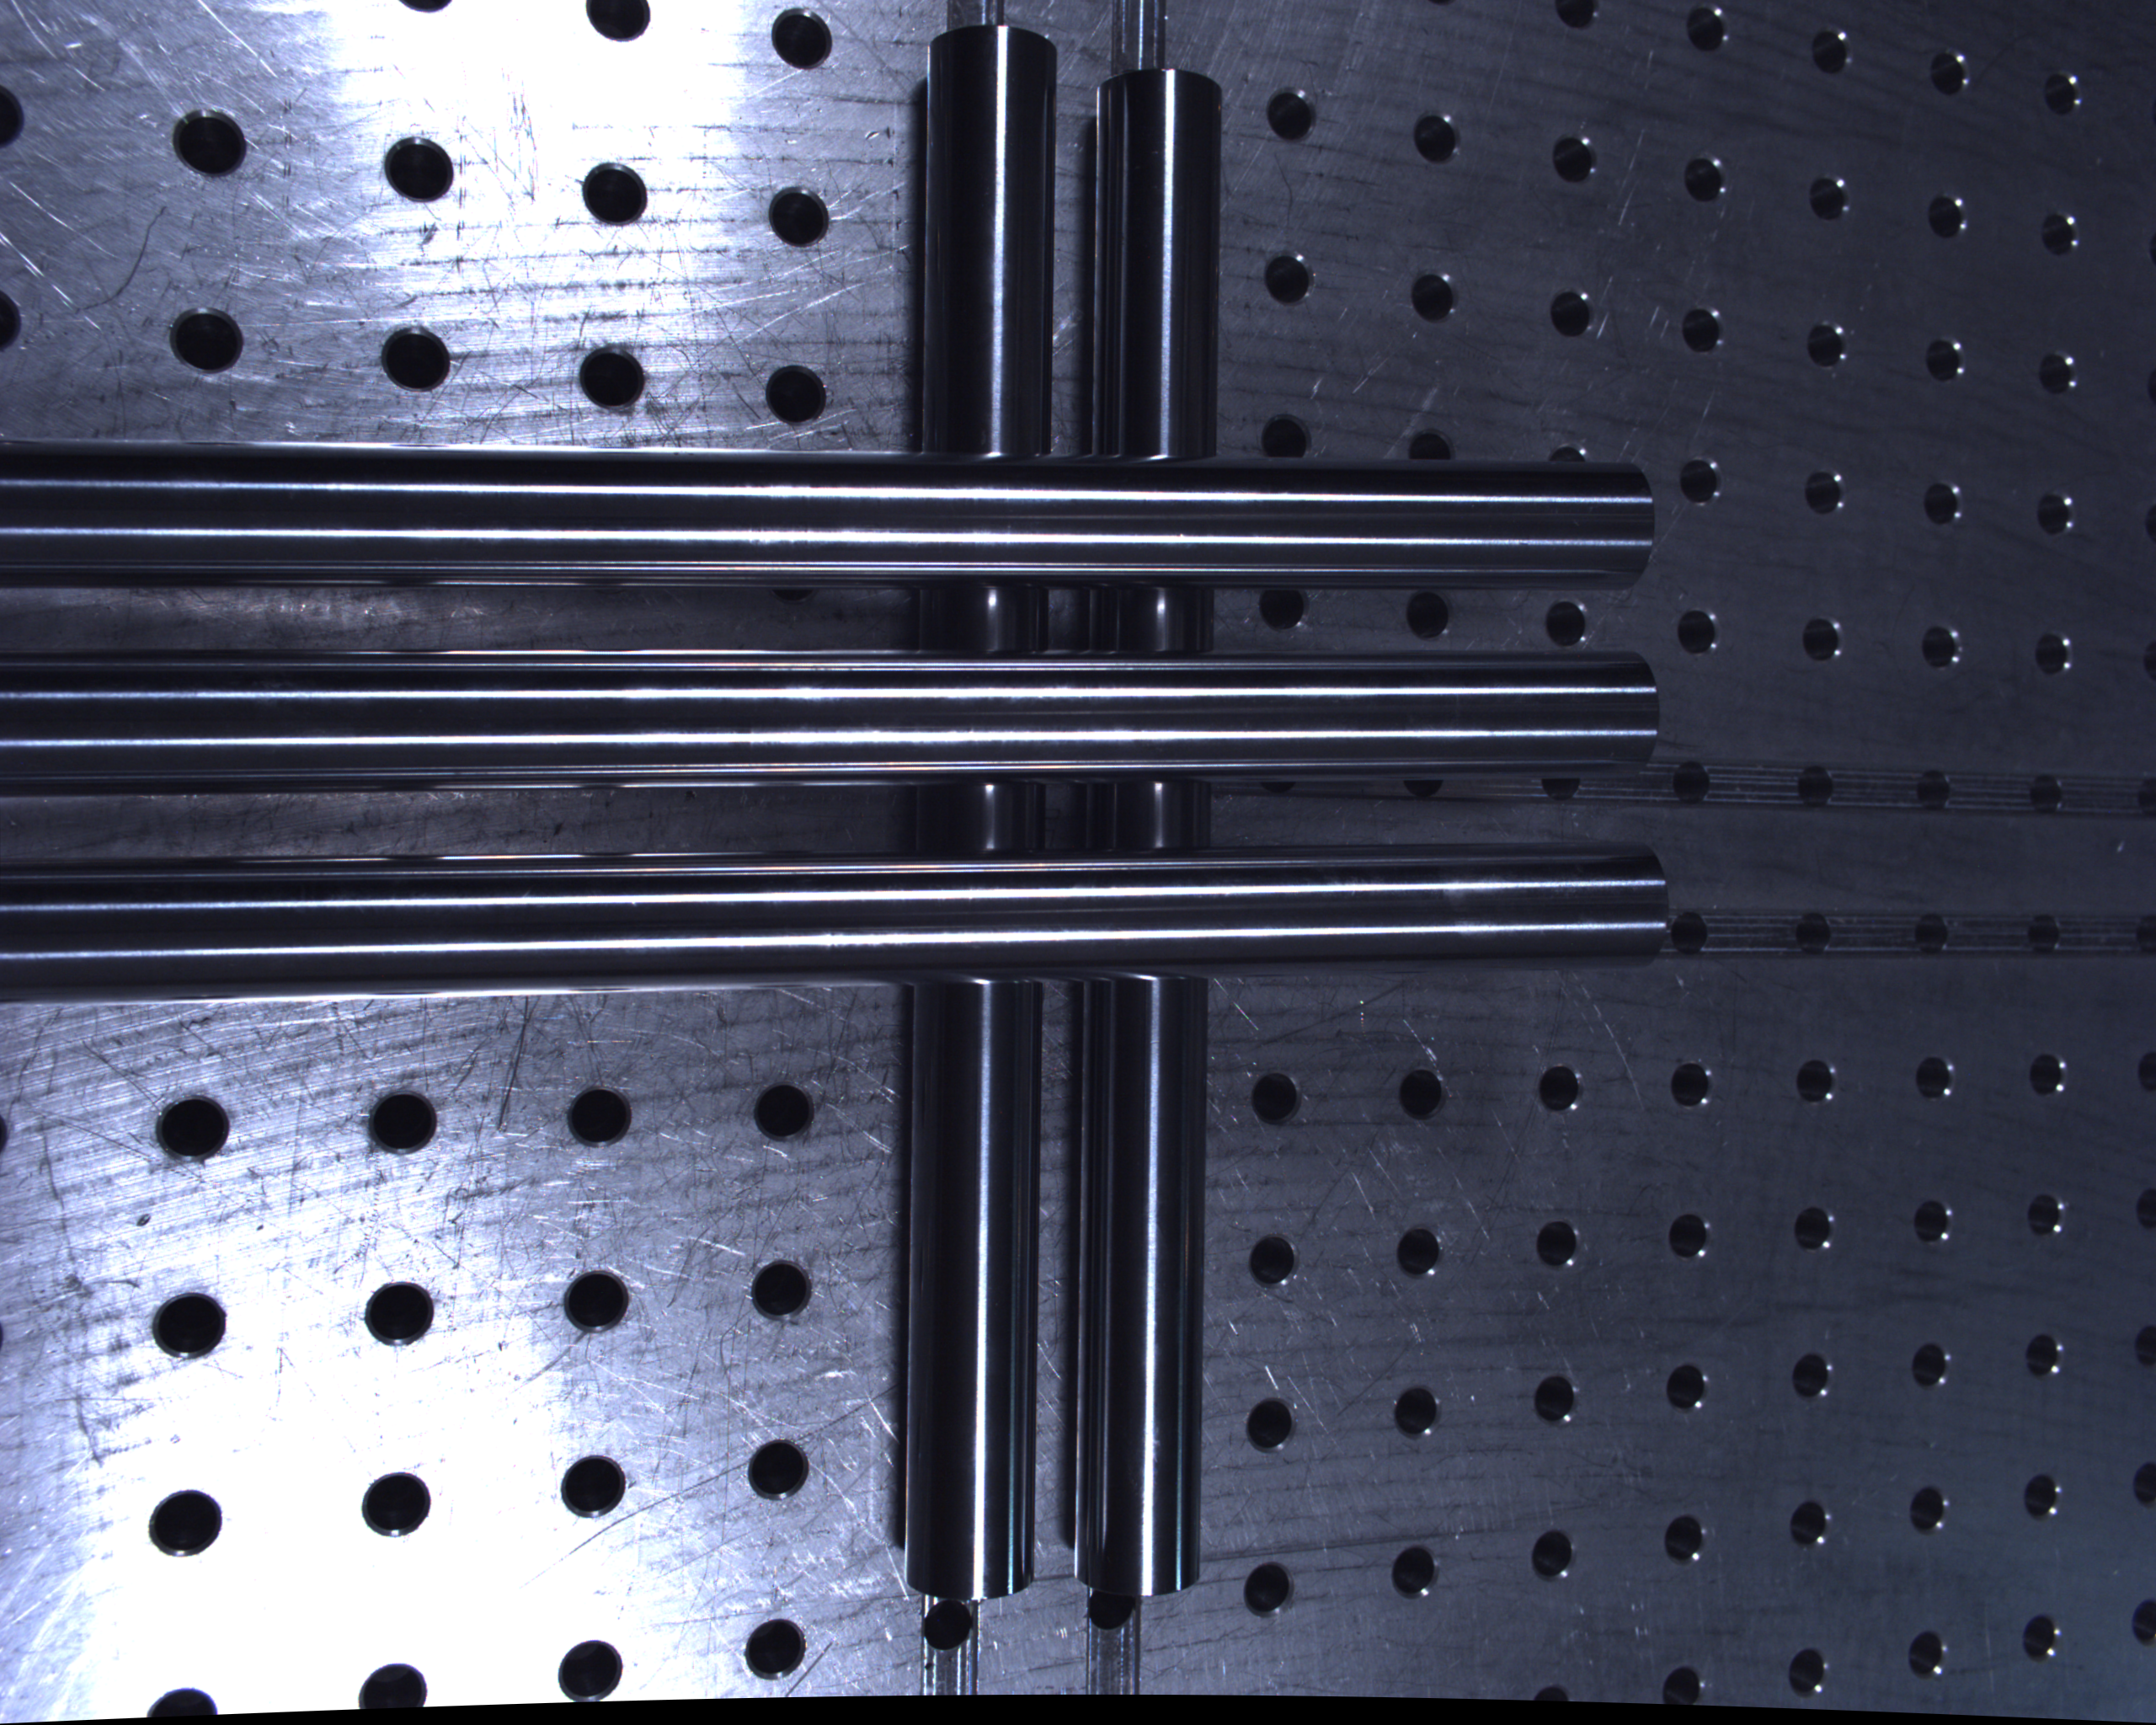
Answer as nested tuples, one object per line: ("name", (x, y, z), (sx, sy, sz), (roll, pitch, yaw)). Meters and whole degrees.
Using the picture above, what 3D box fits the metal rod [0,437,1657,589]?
("metal rod", (-0.040, -0.062, 0.376), (0.302, 0.025, 0.025), (-2, 91, -12))

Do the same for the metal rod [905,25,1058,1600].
("metal rod", (-0.019, -0.010, 0.407), (0.025, 0.025, 0.298), (1, 90, -20))

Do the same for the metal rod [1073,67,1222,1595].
("metal rod", (0.014, -0.006, 0.419), (0.025, 0.025, 0.298), (1, 90, -20))

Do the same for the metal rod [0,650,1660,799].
("metal rod", (-0.039, -0.026, 0.377), (0.302, 0.025, 0.025), (-1, 91, -12))

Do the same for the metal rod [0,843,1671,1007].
("metal rod", (-0.038, 0.010, 0.377), (0.302, 0.025, 0.025), (-1, 90, -12))
